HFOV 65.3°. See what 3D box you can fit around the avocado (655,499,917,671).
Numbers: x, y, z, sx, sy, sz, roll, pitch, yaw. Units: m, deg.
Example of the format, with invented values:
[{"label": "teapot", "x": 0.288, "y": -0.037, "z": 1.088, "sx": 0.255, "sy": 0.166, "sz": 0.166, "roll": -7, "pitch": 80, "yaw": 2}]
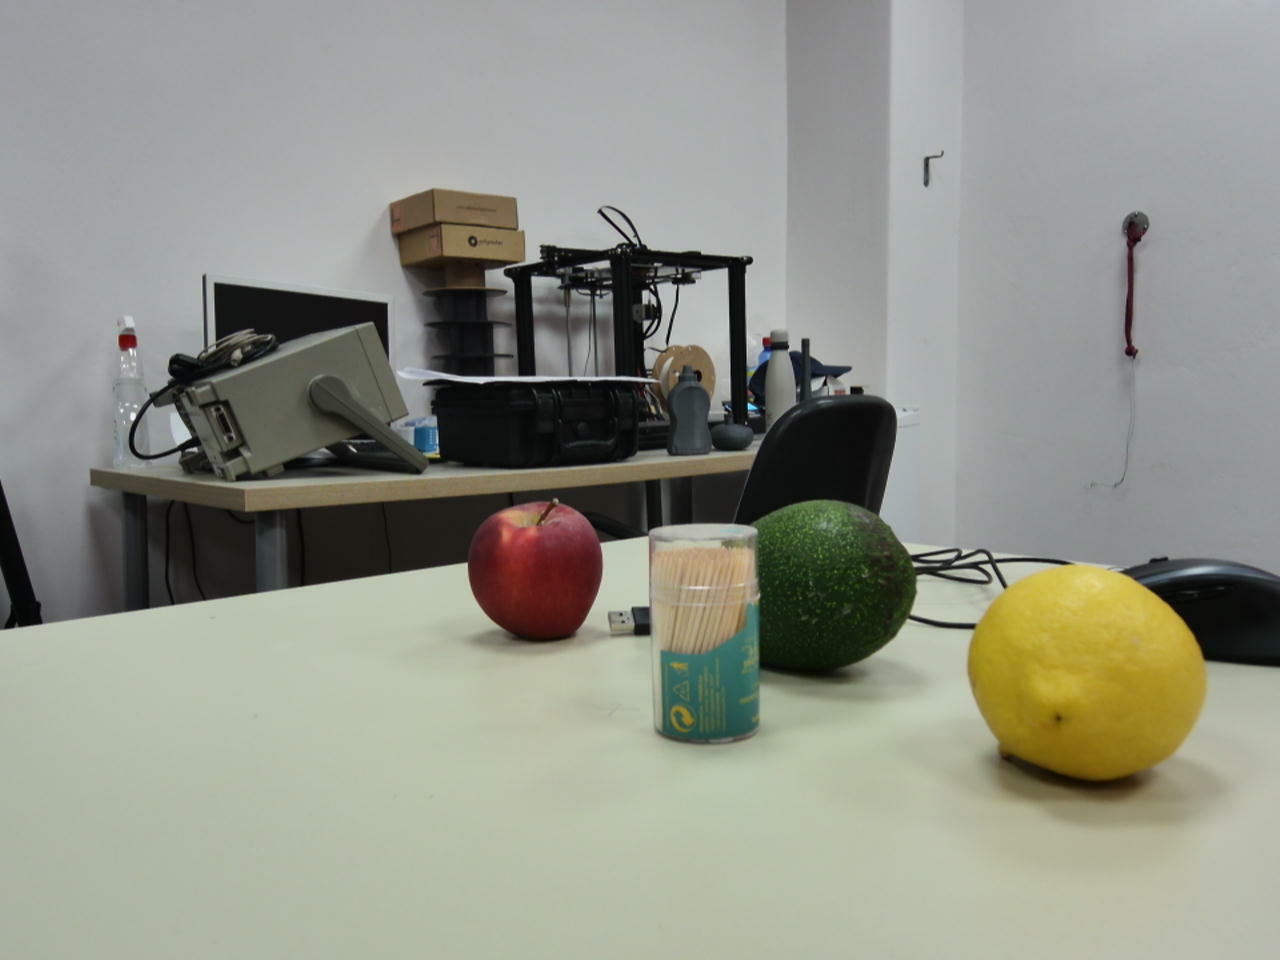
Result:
[{"label": "avocado", "x": 0.070, "y": 0.047, "z": 0.457, "sx": 0.074, "sy": 0.076, "sz": 0.123, "roll": -1, "pitch": 3, "yaw": -34}]
